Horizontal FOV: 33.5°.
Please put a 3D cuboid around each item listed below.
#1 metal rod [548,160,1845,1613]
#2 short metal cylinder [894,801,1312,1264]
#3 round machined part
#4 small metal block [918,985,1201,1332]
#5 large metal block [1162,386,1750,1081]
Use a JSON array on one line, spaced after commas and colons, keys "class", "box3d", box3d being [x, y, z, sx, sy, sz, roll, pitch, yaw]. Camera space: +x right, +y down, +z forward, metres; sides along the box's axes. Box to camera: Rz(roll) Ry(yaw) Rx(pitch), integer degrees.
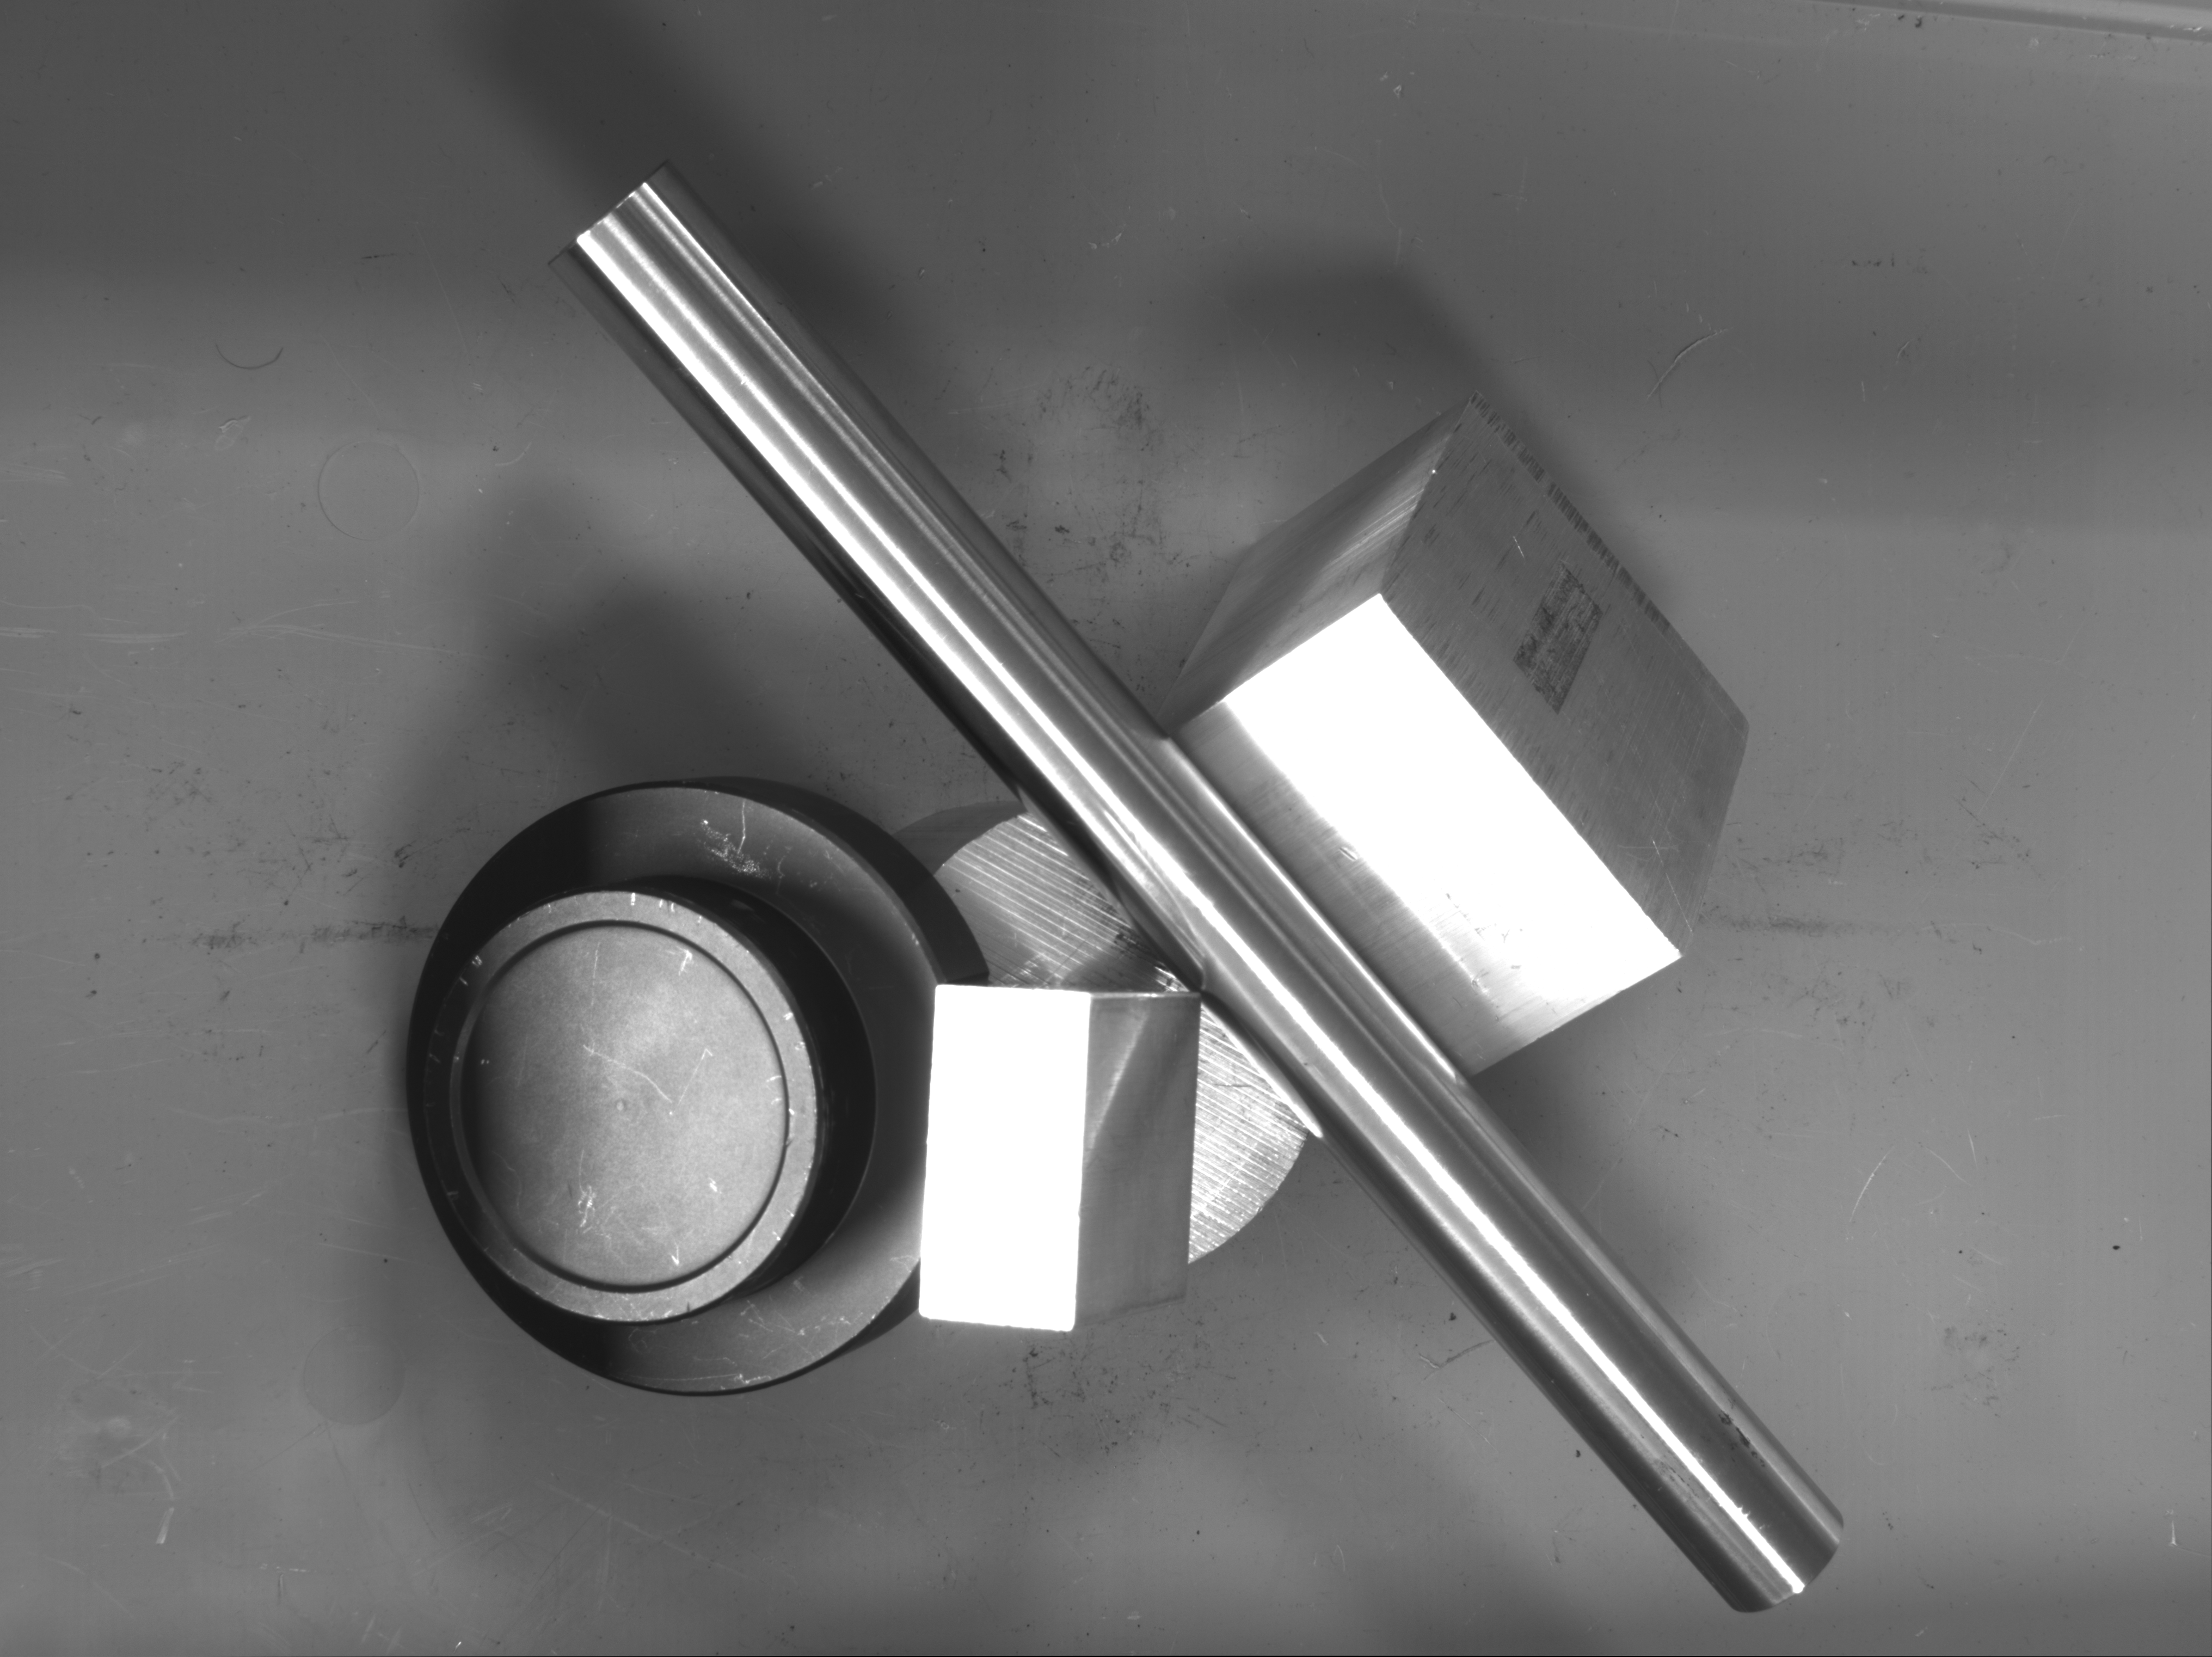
[{"class": "metal rod", "box3d": [0.020, 0.016, 0.596, 0.025, 0.025, 0.300, -45, 104, -14]}, {"class": "short metal cylinder", "box3d": [-0.009, 0.035, 0.625, 0.080, 0.050, 0.080, 0, 90, -20]}, {"class": "round machined part", "box3d": [-0.068, 0.042, 0.581, 0.098, 0.042, 0.098, 1, 94, 18]}, {"class": "small metal block", "box3d": [-0.006, 0.050, 0.571, 0.025, 0.050, 0.050, 3, 89, 21]}, {"class": "large metal block", "box3d": [0.061, -0.016, 0.628, 0.080, 0.050, 0.080, 48, 33, -14]}]
